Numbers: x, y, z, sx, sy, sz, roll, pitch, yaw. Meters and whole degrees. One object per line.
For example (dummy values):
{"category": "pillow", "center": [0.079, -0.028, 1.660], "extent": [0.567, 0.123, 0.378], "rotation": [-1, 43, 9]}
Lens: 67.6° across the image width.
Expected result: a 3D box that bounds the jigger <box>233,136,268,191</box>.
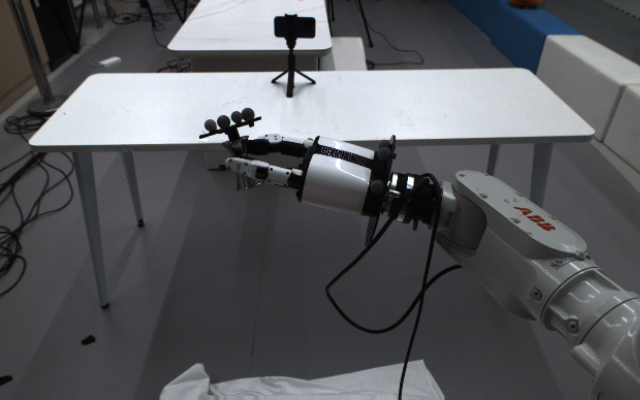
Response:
{"category": "jigger", "center": [-0.106, -0.053, 0.678], "extent": [0.043, 0.071, 0.043], "rotation": [-17, 15, 5]}
